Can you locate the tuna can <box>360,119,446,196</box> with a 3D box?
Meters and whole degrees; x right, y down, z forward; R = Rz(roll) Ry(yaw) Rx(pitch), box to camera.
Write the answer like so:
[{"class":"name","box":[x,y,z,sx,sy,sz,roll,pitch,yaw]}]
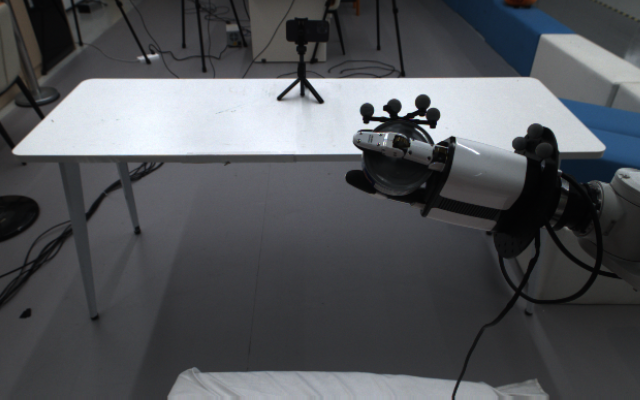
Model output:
[{"class":"tuna can","box":[0.094,-0.051,0.573,0.085,0.034,0.085,0,74,1]}]
